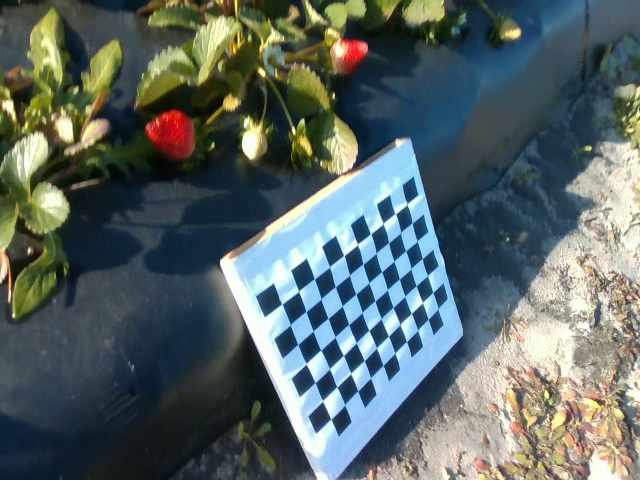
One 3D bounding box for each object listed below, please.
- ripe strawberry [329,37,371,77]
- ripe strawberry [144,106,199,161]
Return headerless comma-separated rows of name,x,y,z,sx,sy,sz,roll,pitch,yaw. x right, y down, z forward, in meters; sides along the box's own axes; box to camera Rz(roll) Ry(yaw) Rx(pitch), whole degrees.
ripe strawberry,0.022,-0.170,0.631,0.045,0.037,0.042,-20,35,24
ripe strawberry,-0.123,-0.080,0.510,0.036,0.044,0.053,4,4,38
